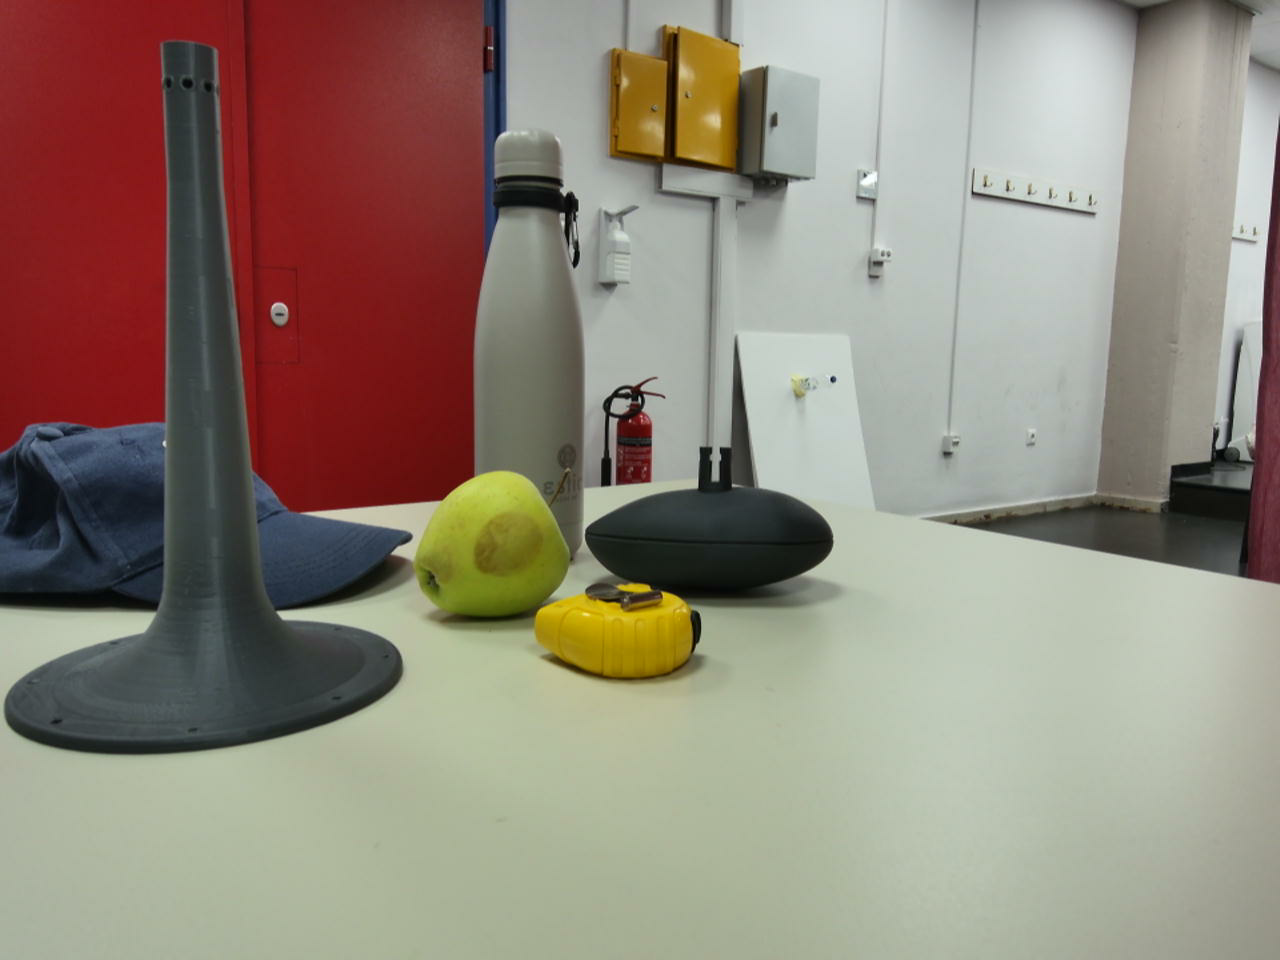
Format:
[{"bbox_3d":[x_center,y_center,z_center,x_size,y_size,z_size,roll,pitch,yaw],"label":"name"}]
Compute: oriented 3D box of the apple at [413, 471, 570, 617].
[{"bbox_3d":[-0.078,0.034,0.533,0.077,0.075,0.072,1,6,7],"label":"apple"}]
